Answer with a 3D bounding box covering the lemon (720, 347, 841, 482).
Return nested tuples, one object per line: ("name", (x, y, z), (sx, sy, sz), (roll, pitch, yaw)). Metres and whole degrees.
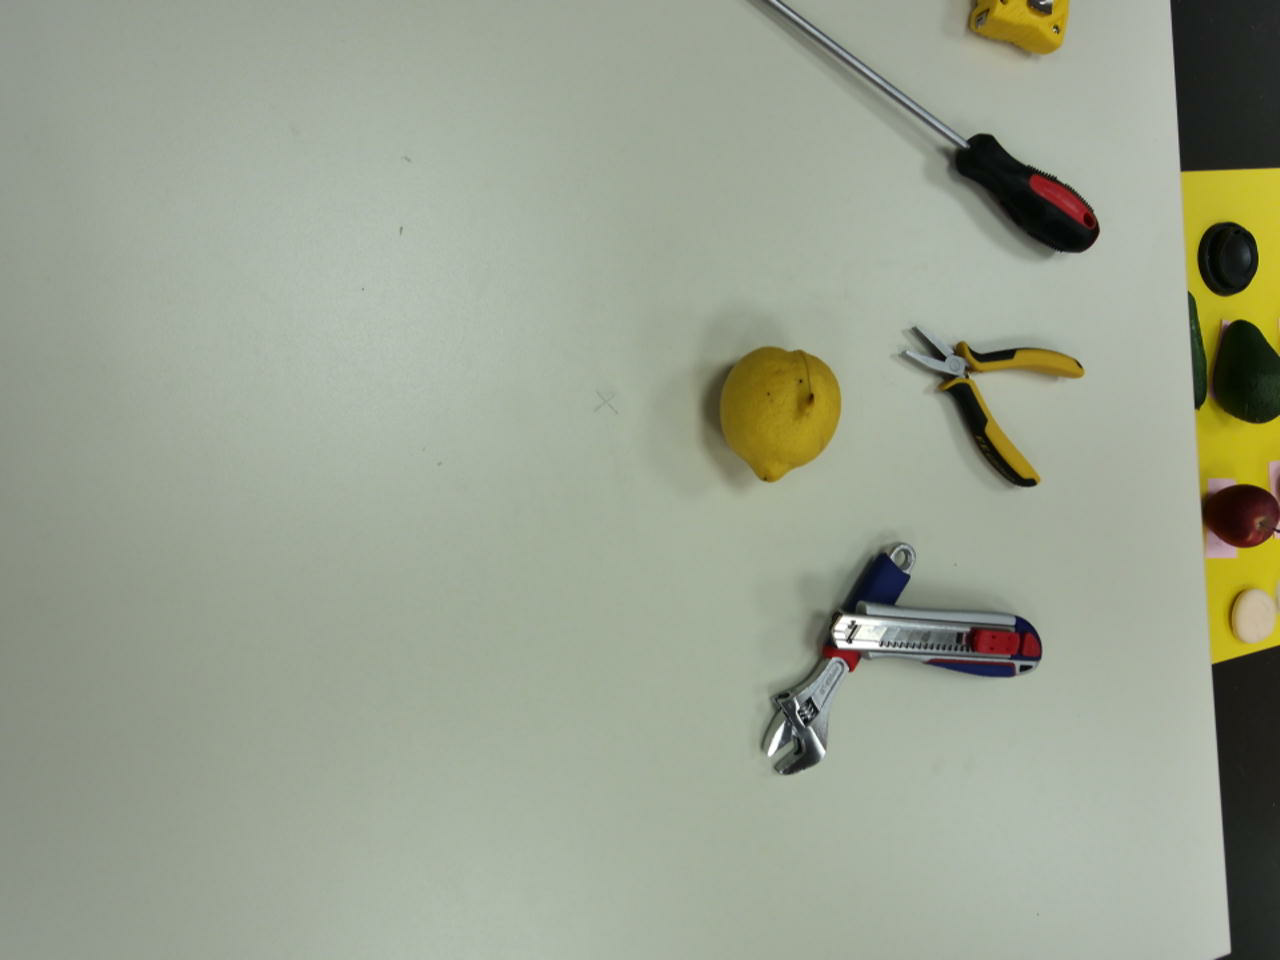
("lemon", (0.080, -0.041, 0.567), (0.071, 0.071, 0.070), (-41, 105, -16))
